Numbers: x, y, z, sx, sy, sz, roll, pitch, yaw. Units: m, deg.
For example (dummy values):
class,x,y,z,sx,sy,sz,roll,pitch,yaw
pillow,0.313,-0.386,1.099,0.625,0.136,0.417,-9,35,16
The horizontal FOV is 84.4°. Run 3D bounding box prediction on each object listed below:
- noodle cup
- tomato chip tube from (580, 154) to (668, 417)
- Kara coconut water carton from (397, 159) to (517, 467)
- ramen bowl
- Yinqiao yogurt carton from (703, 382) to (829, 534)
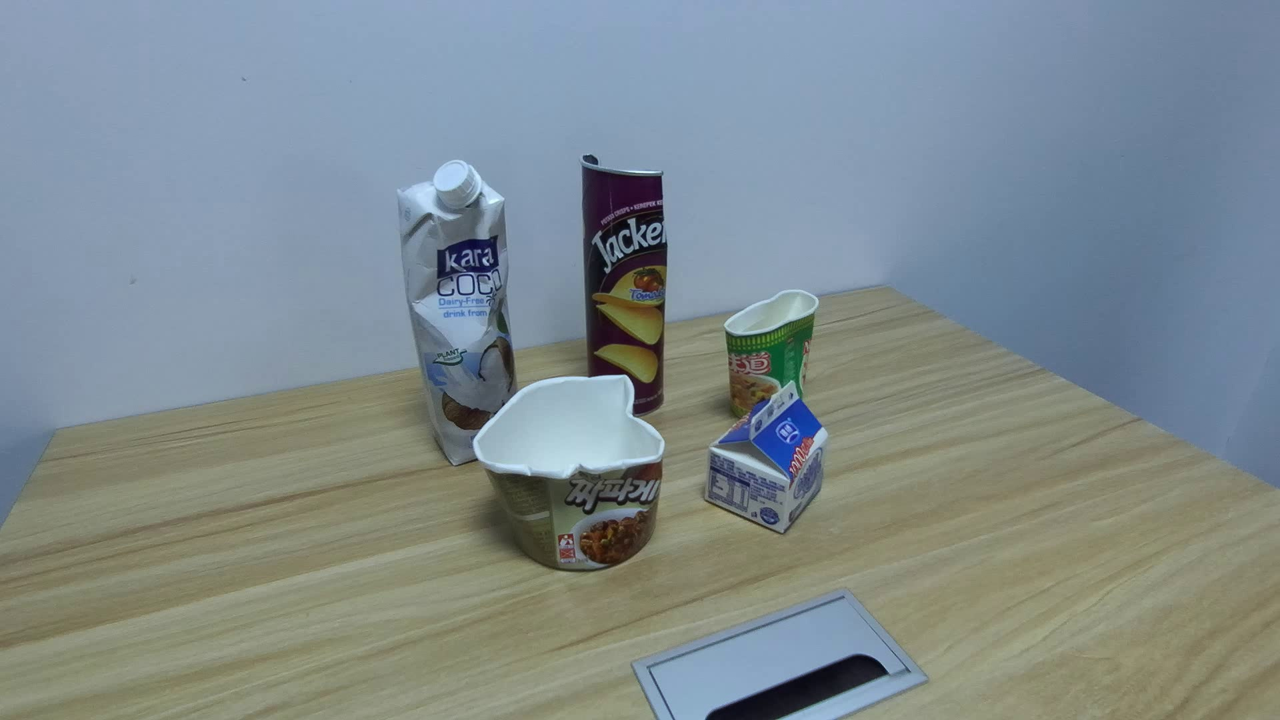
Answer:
class,x,y,z,sx,sy,sz,roll,pitch,yaw
noodle cup,0.121,0.005,0.668,0.115,0.111,0.070,-11,25,-24
tomato chip tube,-0.013,-0.066,0.659,0.076,0.235,0.077,-1,26,-1
Kara coconut water carton,-0.148,-0.039,0.587,0.083,0.256,0.078,-8,30,-16
ramen bowl,-0.052,0.084,0.522,0.134,0.097,0.113,-8,31,-19
Yinqiao yogurt carton,0.101,0.070,0.555,0.073,0.092,0.076,18,33,32
